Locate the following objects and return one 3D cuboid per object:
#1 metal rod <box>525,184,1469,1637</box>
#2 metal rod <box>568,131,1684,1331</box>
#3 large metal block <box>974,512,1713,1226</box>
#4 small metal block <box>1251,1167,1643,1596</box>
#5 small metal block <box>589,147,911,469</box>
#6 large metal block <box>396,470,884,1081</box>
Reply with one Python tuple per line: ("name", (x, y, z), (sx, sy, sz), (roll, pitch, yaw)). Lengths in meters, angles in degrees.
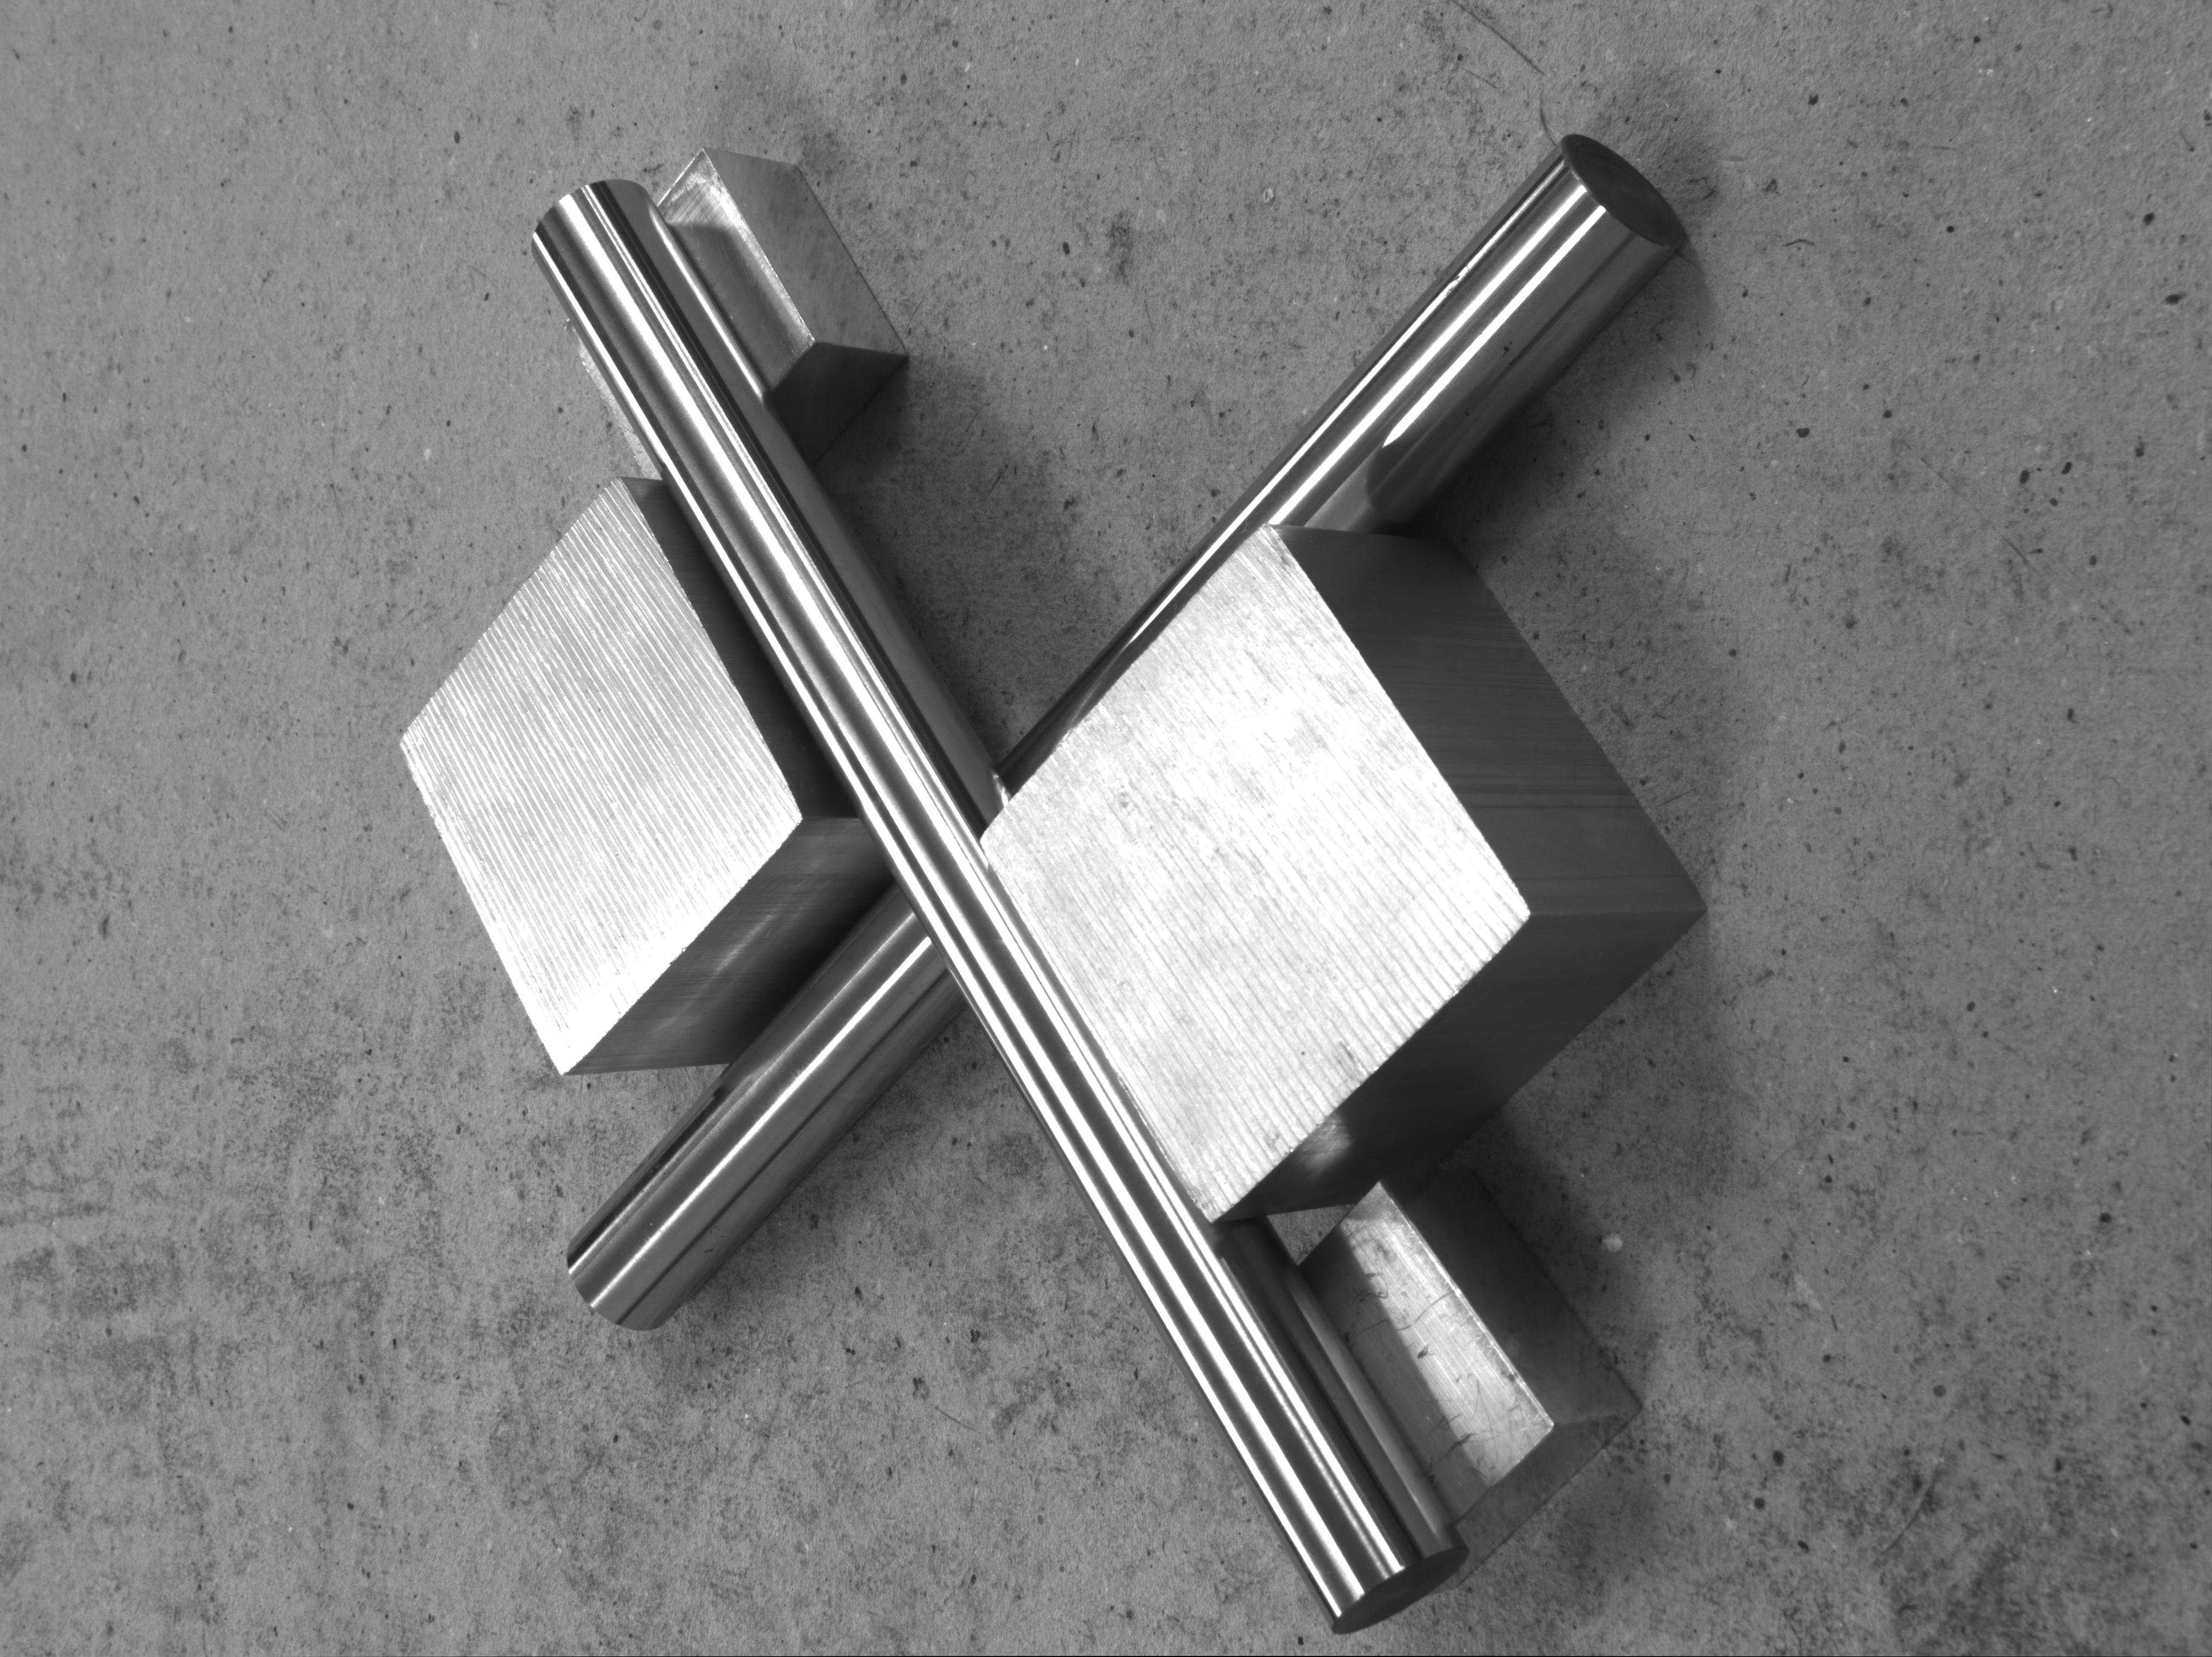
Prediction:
("metal rod", (-0.026, 0.003, 0.634), (0.025, 0.025, 0.300), (-47, 62, 30))
("metal rod", (-0.007, -0.006, 0.653), (0.300, 0.025, 0.025), (-47, 62, 30))
("large metal block", (0.037, 0.007, 0.598), (0.080, 0.050, 0.080), (-47, 62, 30))
("small metal block", (0.051, 0.092, 0.603), (0.050, 0.025, 0.050), (-51, 60, 28))
("small metal block", (-0.072, -0.094, 0.708), (0.050, 0.025, 0.050), (-45, 63, 31))
("large metal block", (-0.078, -0.009, 0.693), (0.080, 0.050, 0.080), (-45, 63, 31))
